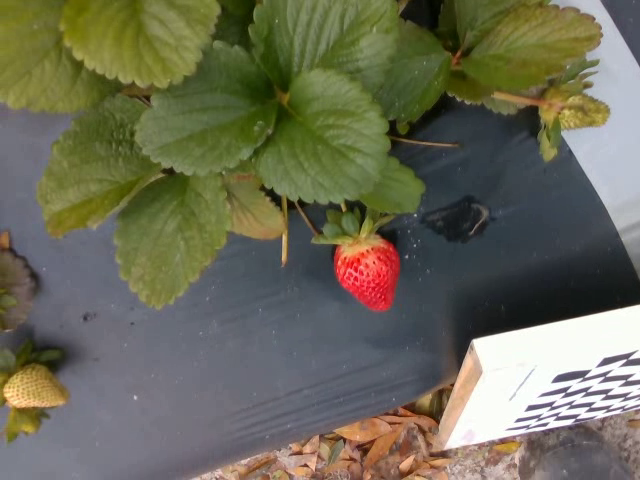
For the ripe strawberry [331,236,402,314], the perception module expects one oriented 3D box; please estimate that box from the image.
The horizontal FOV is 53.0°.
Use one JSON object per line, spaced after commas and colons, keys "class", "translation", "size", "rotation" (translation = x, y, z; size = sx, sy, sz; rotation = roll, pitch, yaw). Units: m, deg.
{"class": "ripe strawberry", "translation": [0.024, 0.015, 0.298], "size": [0.036, 0.046, 0.040], "rotation": [-8, 19, 19]}
